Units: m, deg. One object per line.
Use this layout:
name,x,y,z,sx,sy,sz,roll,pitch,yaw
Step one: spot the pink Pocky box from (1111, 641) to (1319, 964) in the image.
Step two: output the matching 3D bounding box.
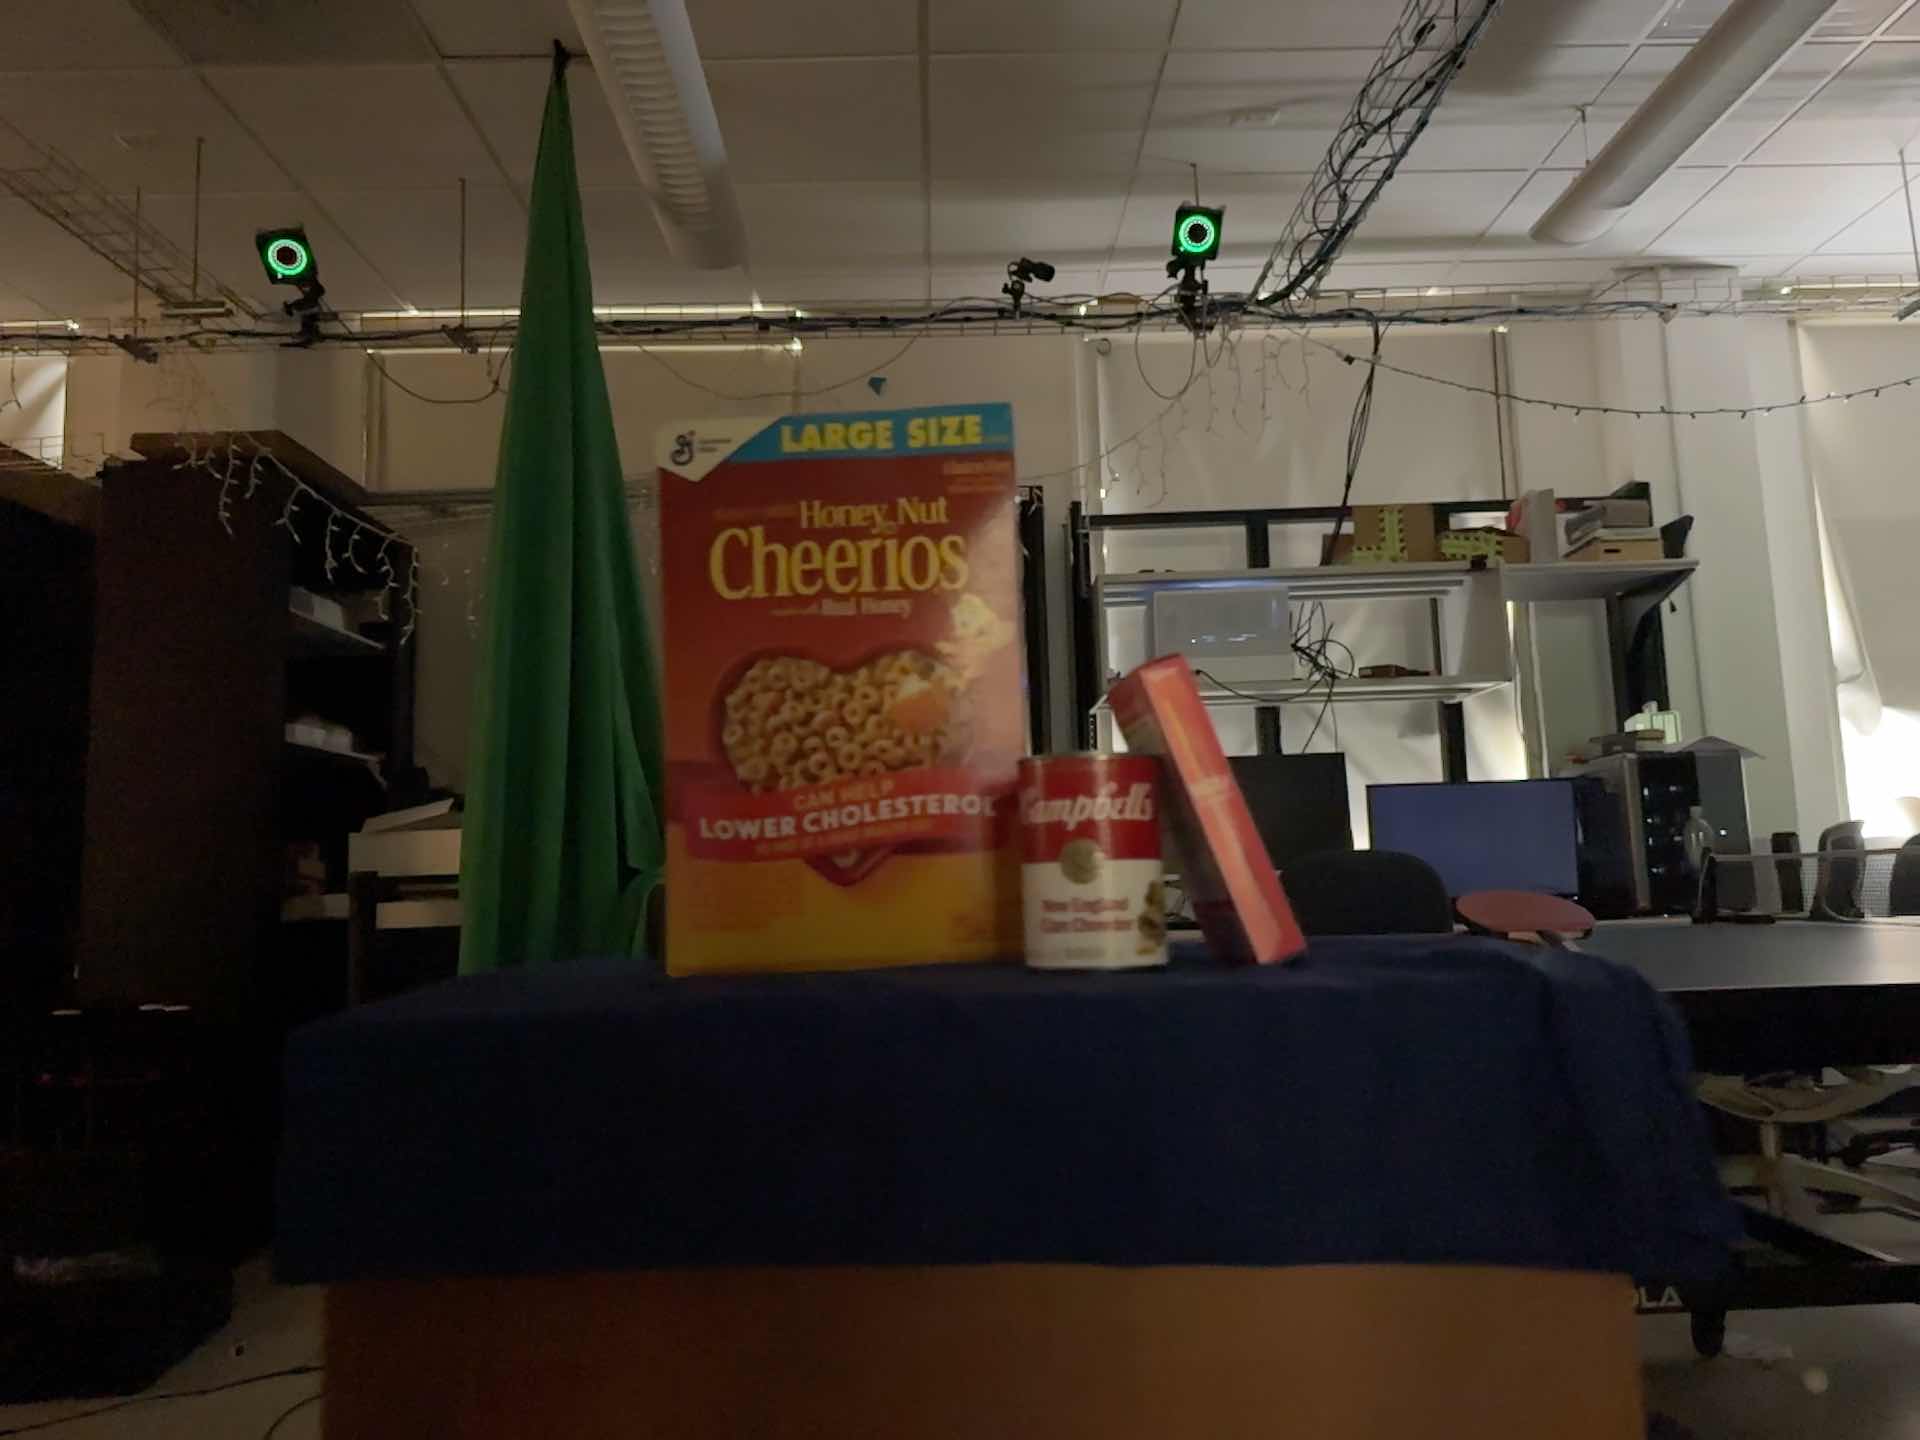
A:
pink Pocky box,0.122,0.042,0.664,0.029,0.155,0.084,-22,-6,-7

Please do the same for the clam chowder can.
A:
clam chowder can,0.065,0.070,0.654,0.068,0.102,0.068,1,-6,0

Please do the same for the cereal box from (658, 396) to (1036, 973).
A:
cereal box,-0.061,-0.018,0.749,0.195,0.297,0.065,-2,-6,7
